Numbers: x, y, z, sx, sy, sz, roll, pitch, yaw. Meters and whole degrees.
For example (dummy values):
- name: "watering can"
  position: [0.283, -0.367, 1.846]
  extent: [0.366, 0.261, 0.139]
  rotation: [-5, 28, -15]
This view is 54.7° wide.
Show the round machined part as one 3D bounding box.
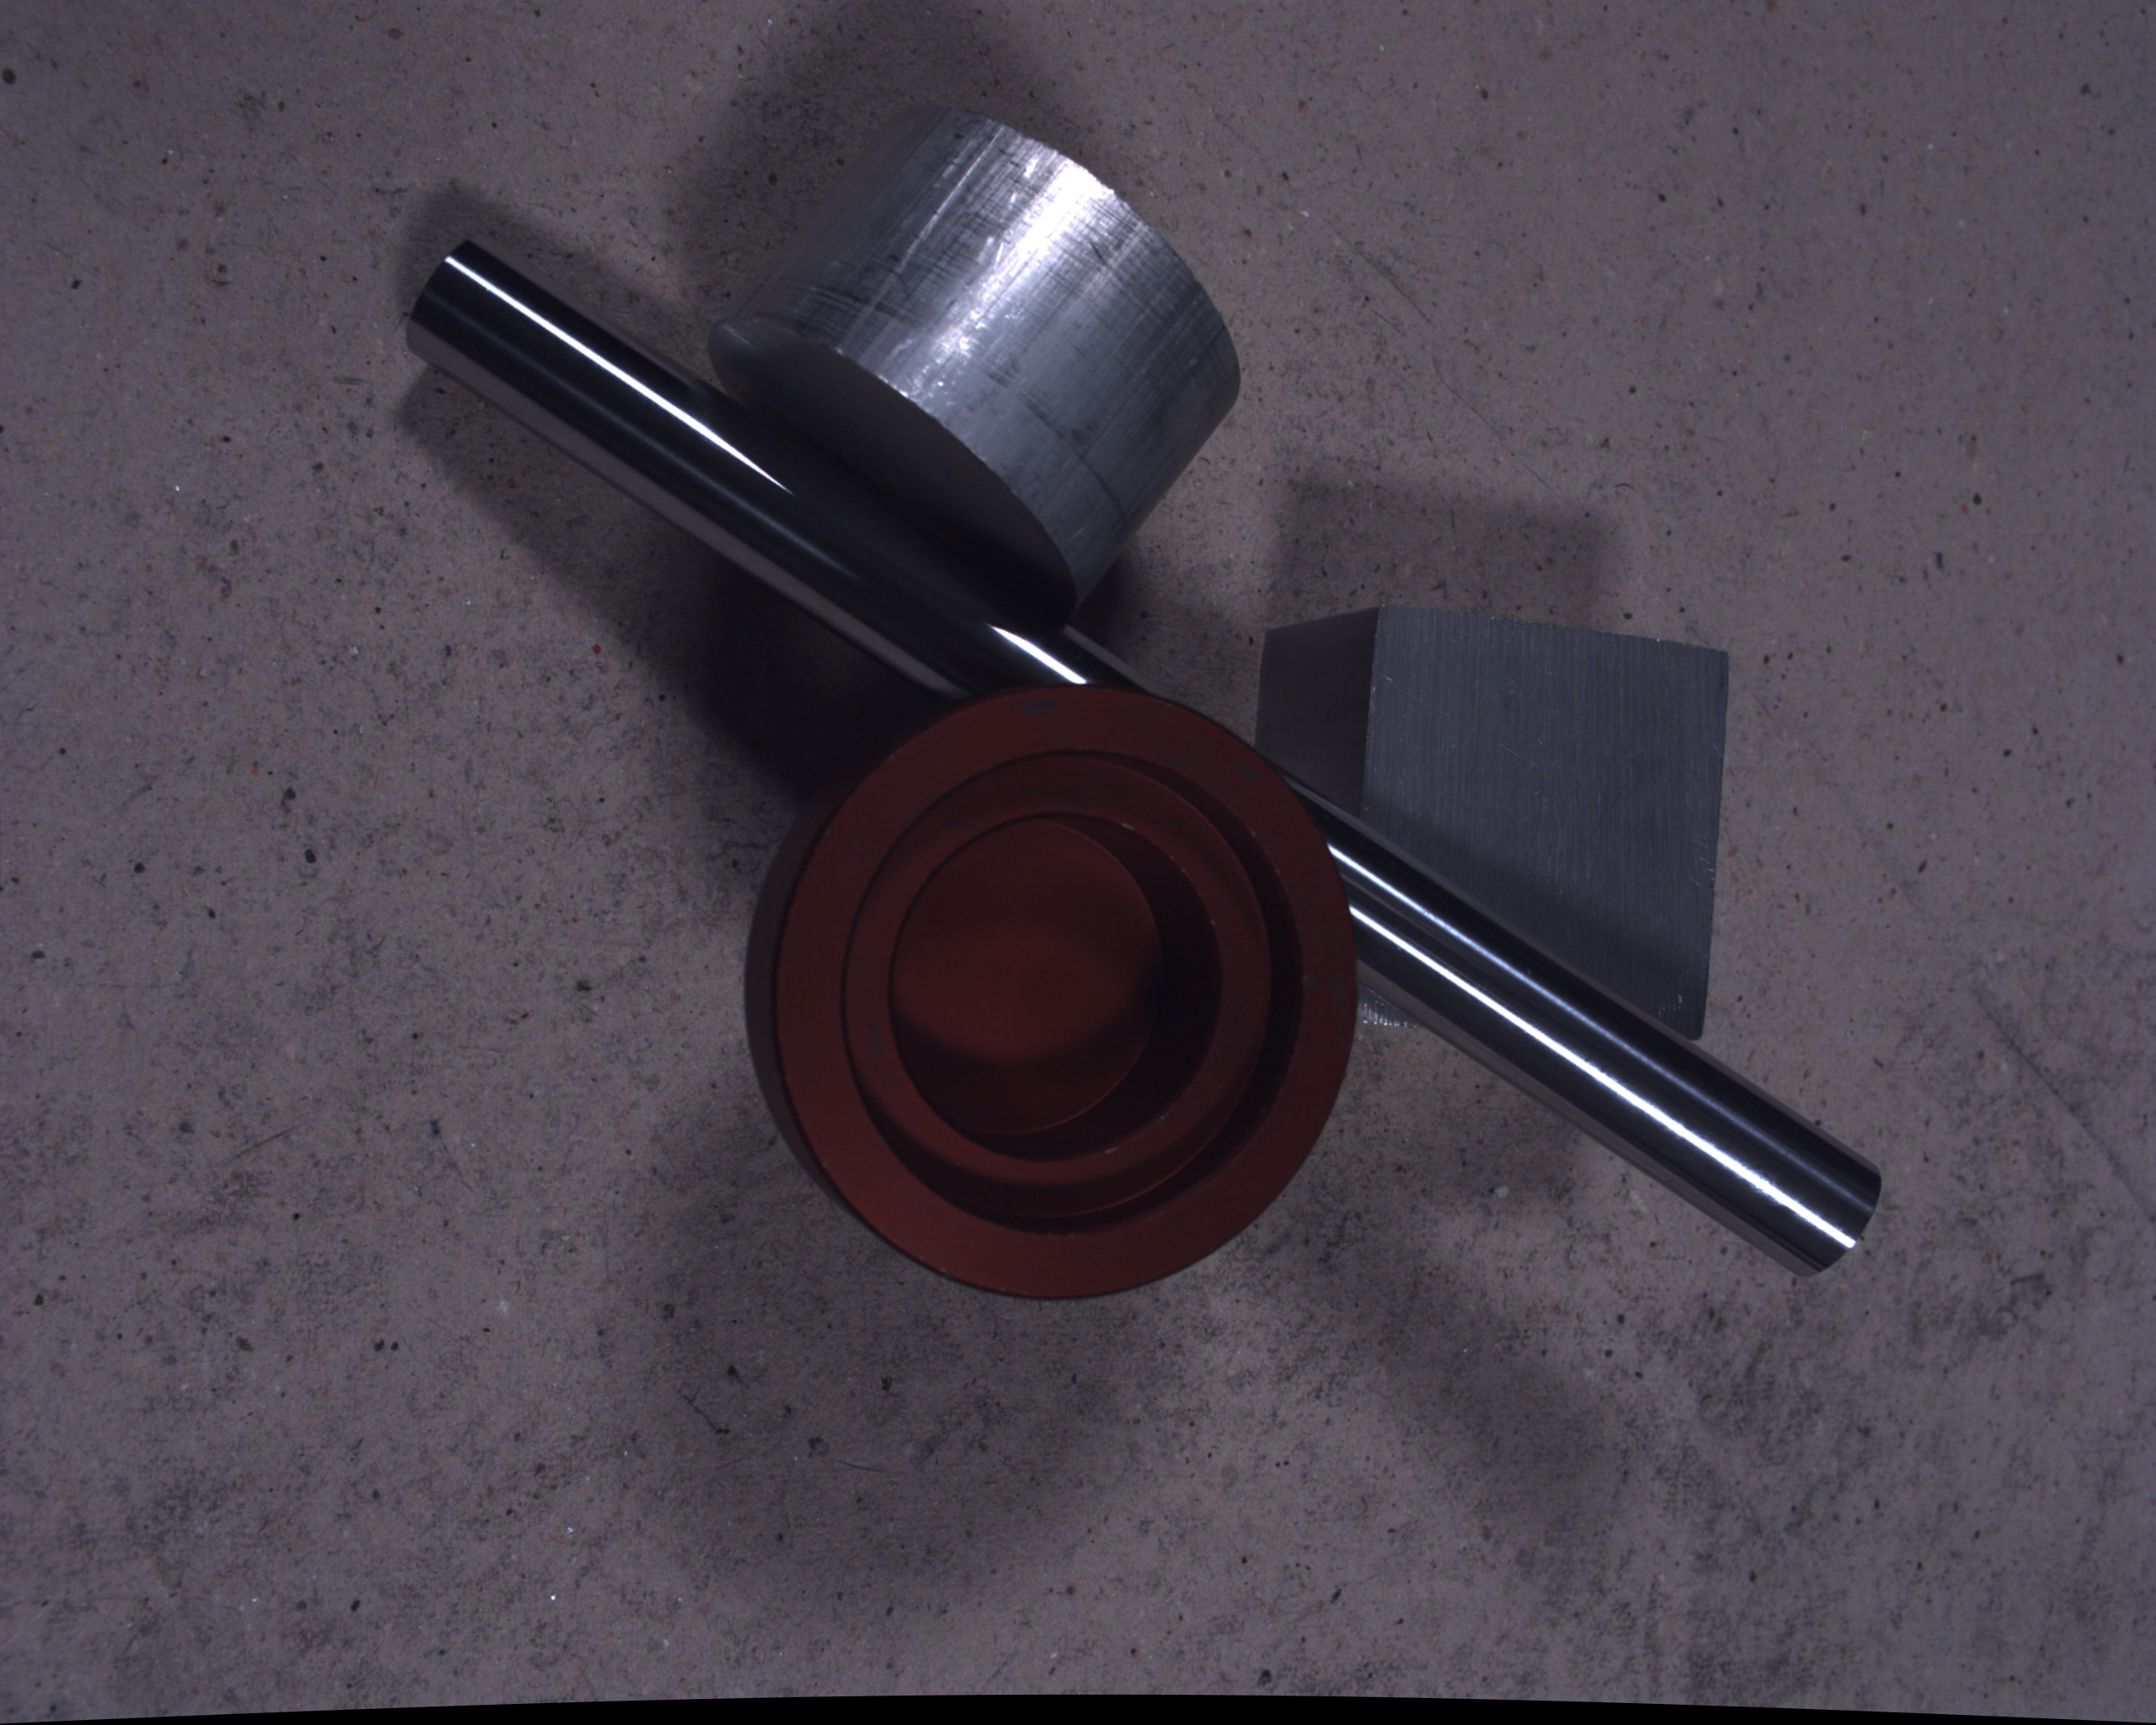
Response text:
- name: "round machined part"
  position: [-0.007, 0.020, 0.347]
  extent: [0.099, 0.042, 0.097]
  rotation: [-1, 92, -20]

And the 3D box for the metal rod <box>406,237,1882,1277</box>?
- name: "metal rod"
  position: [0.014, -0.017, 0.377]
  extent: [0.301, 0.025, 0.025]
  rotation: [33, 79, -3]

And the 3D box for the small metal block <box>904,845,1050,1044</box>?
- name: "small metal block"
  position: [-0.026, 0.008, 0.389]
  extent: [0.025, 0.050, 0.050]
  rotation: [-2, 91, -20]

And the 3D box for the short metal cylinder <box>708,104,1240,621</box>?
- name: "short metal cylinder"
  position: [-0.018, -0.087, 0.375]
  extent: [0.080, 0.080, 0.050]
  rotation: [39, 78, -16]

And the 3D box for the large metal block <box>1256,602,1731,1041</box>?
- name: "large metal block"
  position: [0.083, -0.007, 0.429]
  extent: [0.081, 0.050, 0.080]
  rotation: [5, 89, -20]
